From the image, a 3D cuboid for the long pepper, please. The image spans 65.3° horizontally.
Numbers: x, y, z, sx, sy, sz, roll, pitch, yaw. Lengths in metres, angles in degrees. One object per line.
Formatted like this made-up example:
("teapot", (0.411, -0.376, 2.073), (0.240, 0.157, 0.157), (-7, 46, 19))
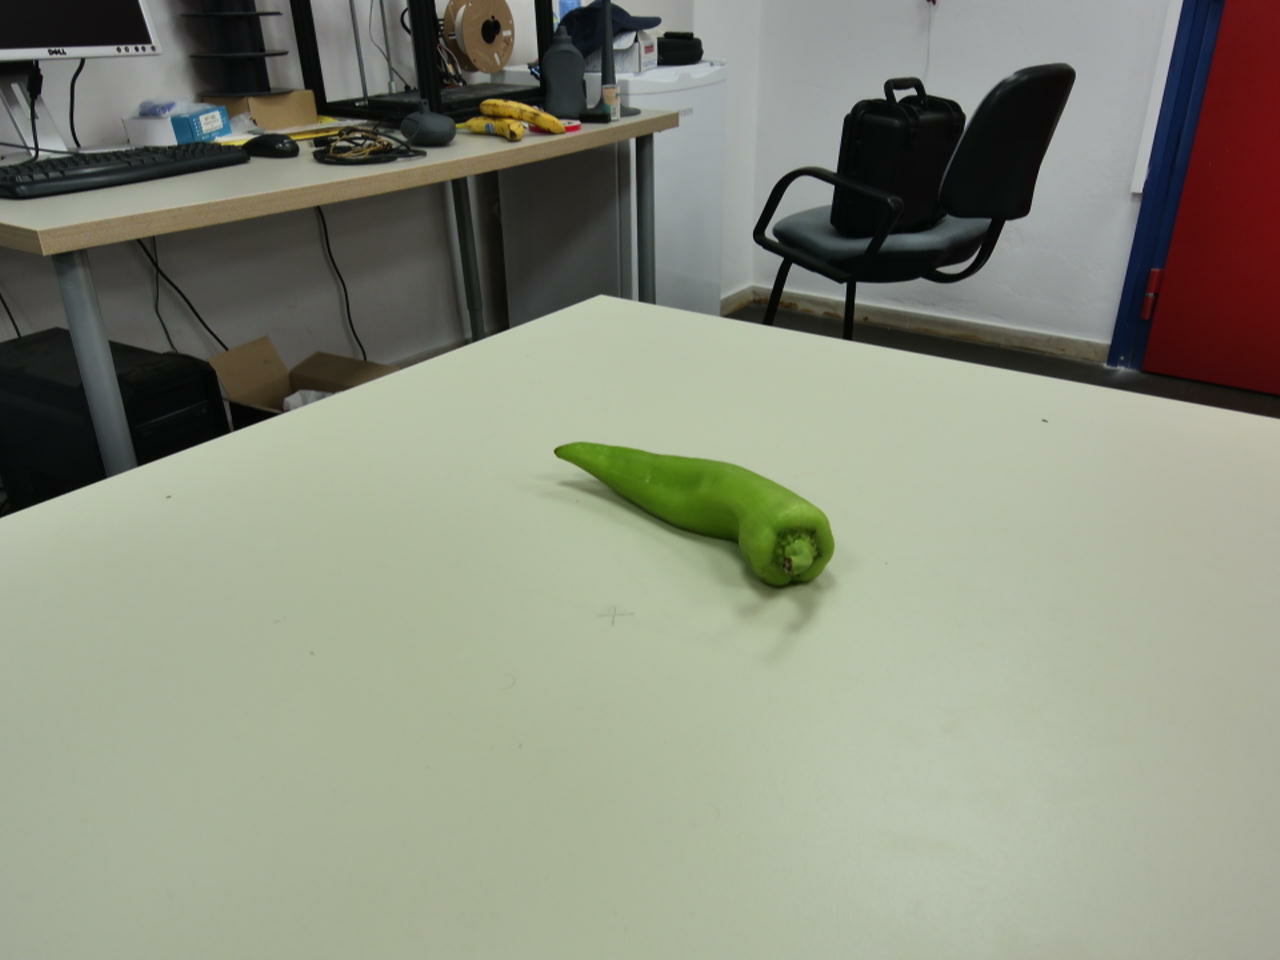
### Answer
("long pepper", (0.034, 0.009, 0.556), (0.065, 0.045, 0.205), (-17, 29, -33))
